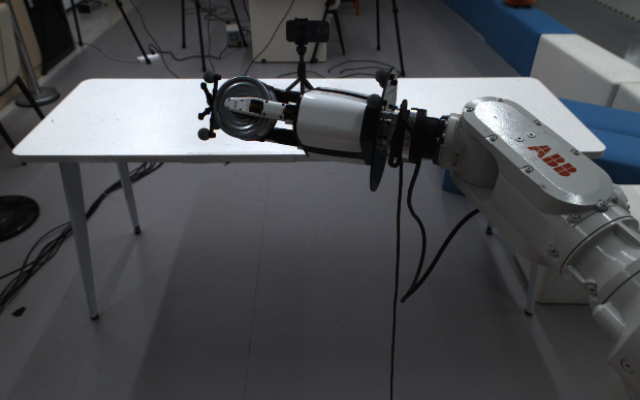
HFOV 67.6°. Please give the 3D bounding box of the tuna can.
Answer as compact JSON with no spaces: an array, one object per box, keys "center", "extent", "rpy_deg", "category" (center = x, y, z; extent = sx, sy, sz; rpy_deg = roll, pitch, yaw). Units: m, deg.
[{"center":[-0.101,-0.127,0.664],"extent":[0.085,0.085,0.034],"rpy_deg":[10,3,11],"category":"tuna can"}]
